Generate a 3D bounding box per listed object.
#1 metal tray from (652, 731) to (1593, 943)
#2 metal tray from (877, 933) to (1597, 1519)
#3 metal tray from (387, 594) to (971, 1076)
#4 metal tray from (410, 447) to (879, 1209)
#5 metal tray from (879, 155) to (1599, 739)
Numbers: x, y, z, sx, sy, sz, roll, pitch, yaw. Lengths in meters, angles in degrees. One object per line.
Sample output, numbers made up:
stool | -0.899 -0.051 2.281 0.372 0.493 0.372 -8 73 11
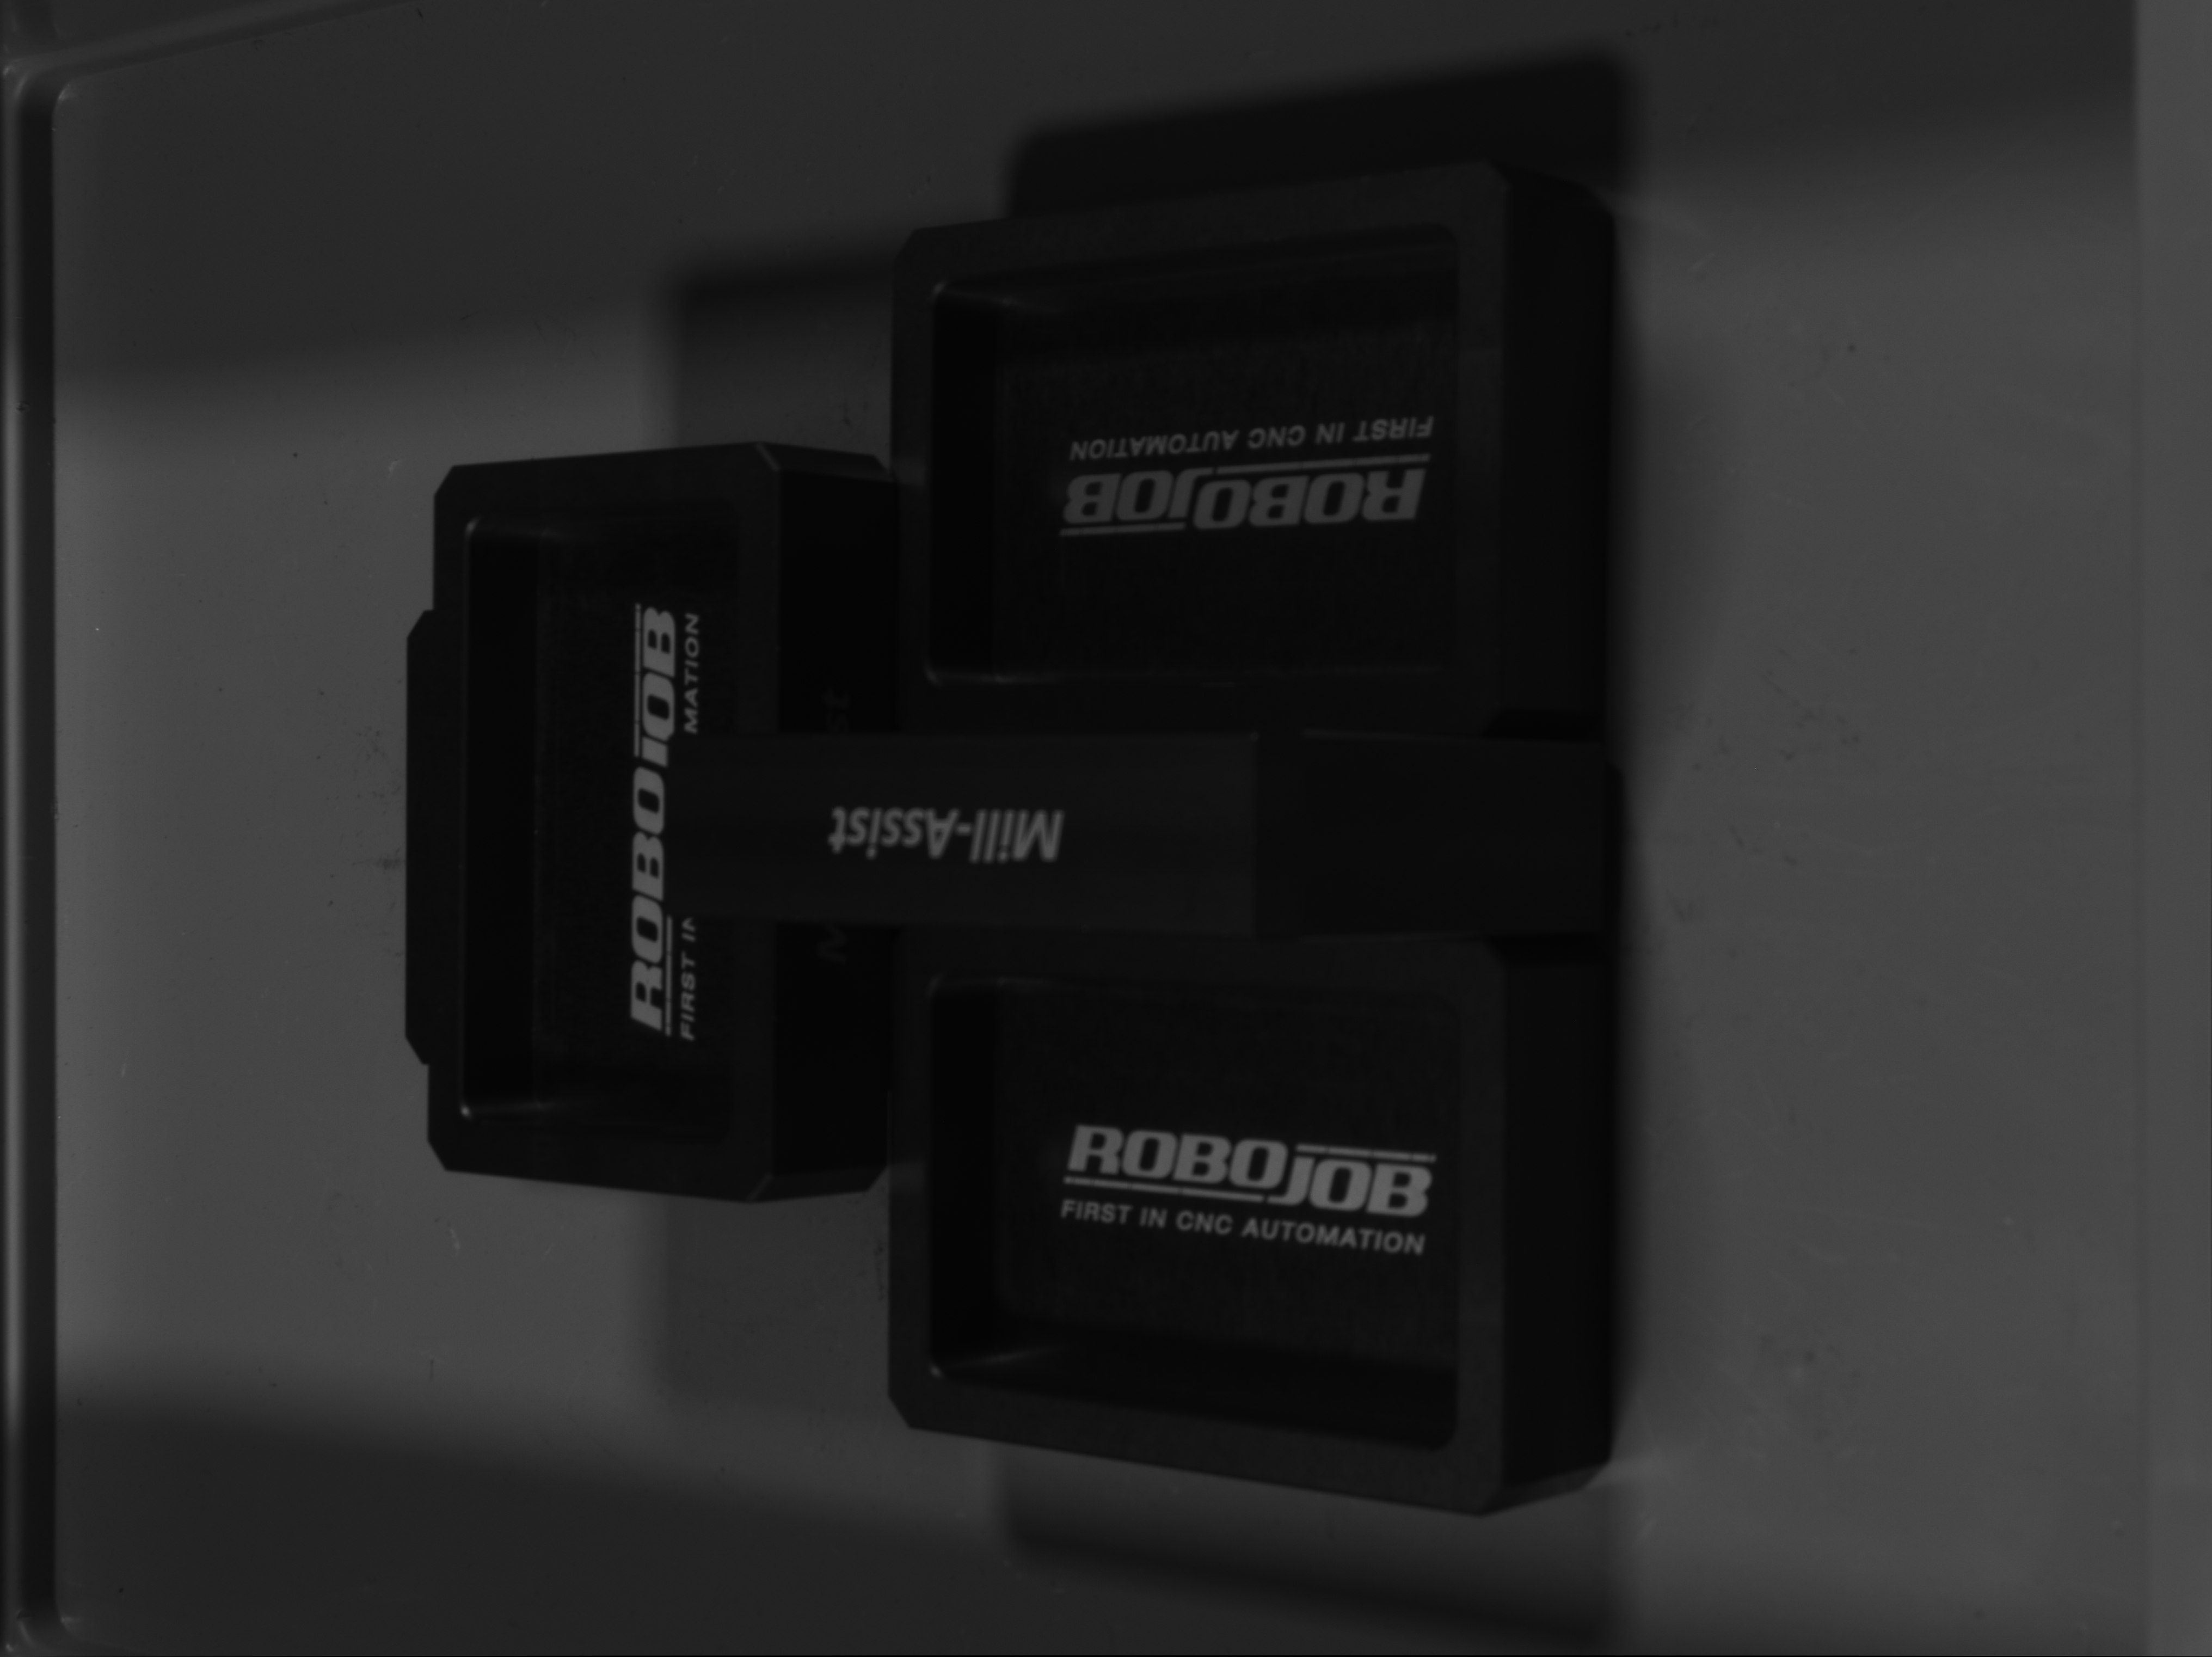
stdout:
metal tray | 0.001 0.001 0.590 0.130 0.090 0.030 1 90 39
metal tray | 0.019 0.061 0.616 0.130 0.030 0.090 1 90 39
metal tray | -0.084 0.002 0.698 0.130 0.030 0.090 0 90 39
metal tray | -0.084 -0.001 0.661 0.090 0.030 0.130 1 91 39
metal tray | 0.019 -0.060 0.616 0.130 0.030 0.090 1 90 39
